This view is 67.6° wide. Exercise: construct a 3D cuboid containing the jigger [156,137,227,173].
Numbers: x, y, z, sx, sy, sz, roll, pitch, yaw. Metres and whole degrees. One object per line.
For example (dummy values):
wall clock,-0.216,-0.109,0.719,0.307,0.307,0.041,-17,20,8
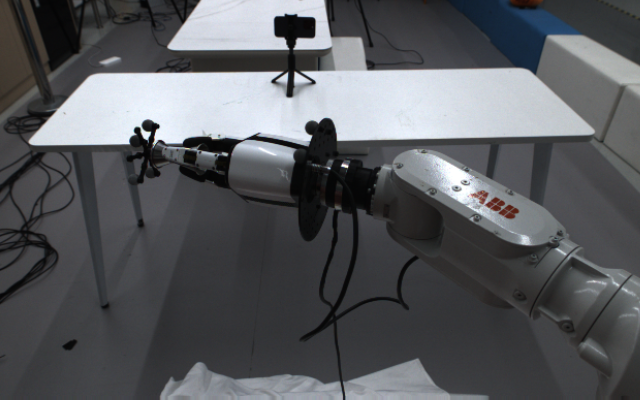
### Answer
jigger,-0.187,-0.062,0.668,0.071,0.043,0.043,8,35,13
